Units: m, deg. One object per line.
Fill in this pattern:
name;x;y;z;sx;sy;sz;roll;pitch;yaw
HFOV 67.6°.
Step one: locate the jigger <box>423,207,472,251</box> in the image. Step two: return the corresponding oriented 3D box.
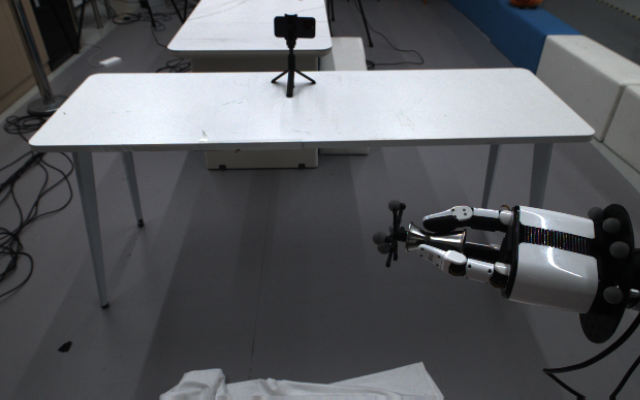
jigger;0.152;0.045;0.605;0.071;0.043;0.043;8;34;21
